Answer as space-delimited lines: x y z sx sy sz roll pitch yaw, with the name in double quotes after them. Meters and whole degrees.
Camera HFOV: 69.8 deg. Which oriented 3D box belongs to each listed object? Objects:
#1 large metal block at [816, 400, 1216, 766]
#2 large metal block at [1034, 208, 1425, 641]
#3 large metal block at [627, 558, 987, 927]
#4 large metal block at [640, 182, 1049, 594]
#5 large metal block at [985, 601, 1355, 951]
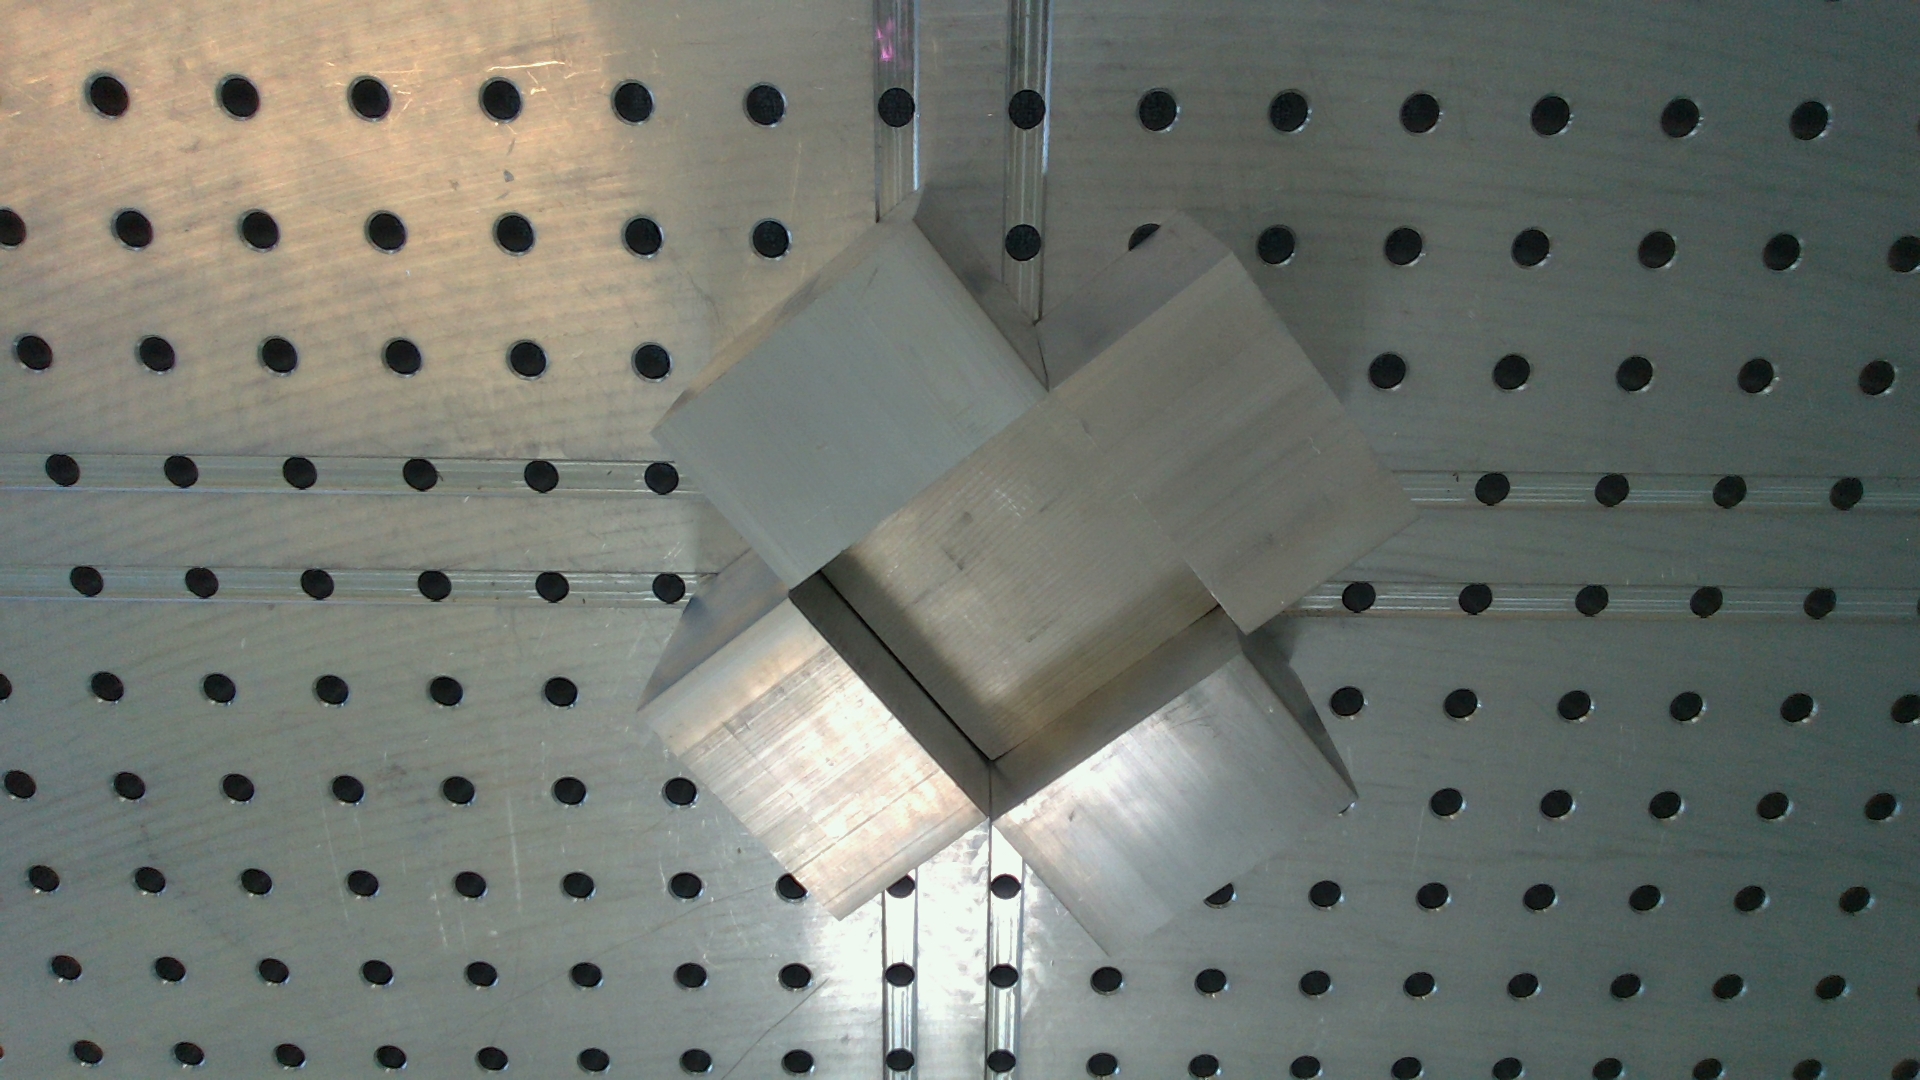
0.015 0.001 0.382 0.080 0.050 0.080 -36 105 14 "large metal block"
0.065 -0.033 0.355 0.050 0.080 0.080 -37 106 12 "large metal block"
-0.038 0.044 0.383 0.050 0.080 0.080 -37 106 13 "large metal block"
-0.026 -0.043 0.351 0.080 0.080 0.050 -37 106 13 "large metal block"
0.054 0.054 0.389 0.080 0.080 0.050 -35 106 12 "large metal block"
